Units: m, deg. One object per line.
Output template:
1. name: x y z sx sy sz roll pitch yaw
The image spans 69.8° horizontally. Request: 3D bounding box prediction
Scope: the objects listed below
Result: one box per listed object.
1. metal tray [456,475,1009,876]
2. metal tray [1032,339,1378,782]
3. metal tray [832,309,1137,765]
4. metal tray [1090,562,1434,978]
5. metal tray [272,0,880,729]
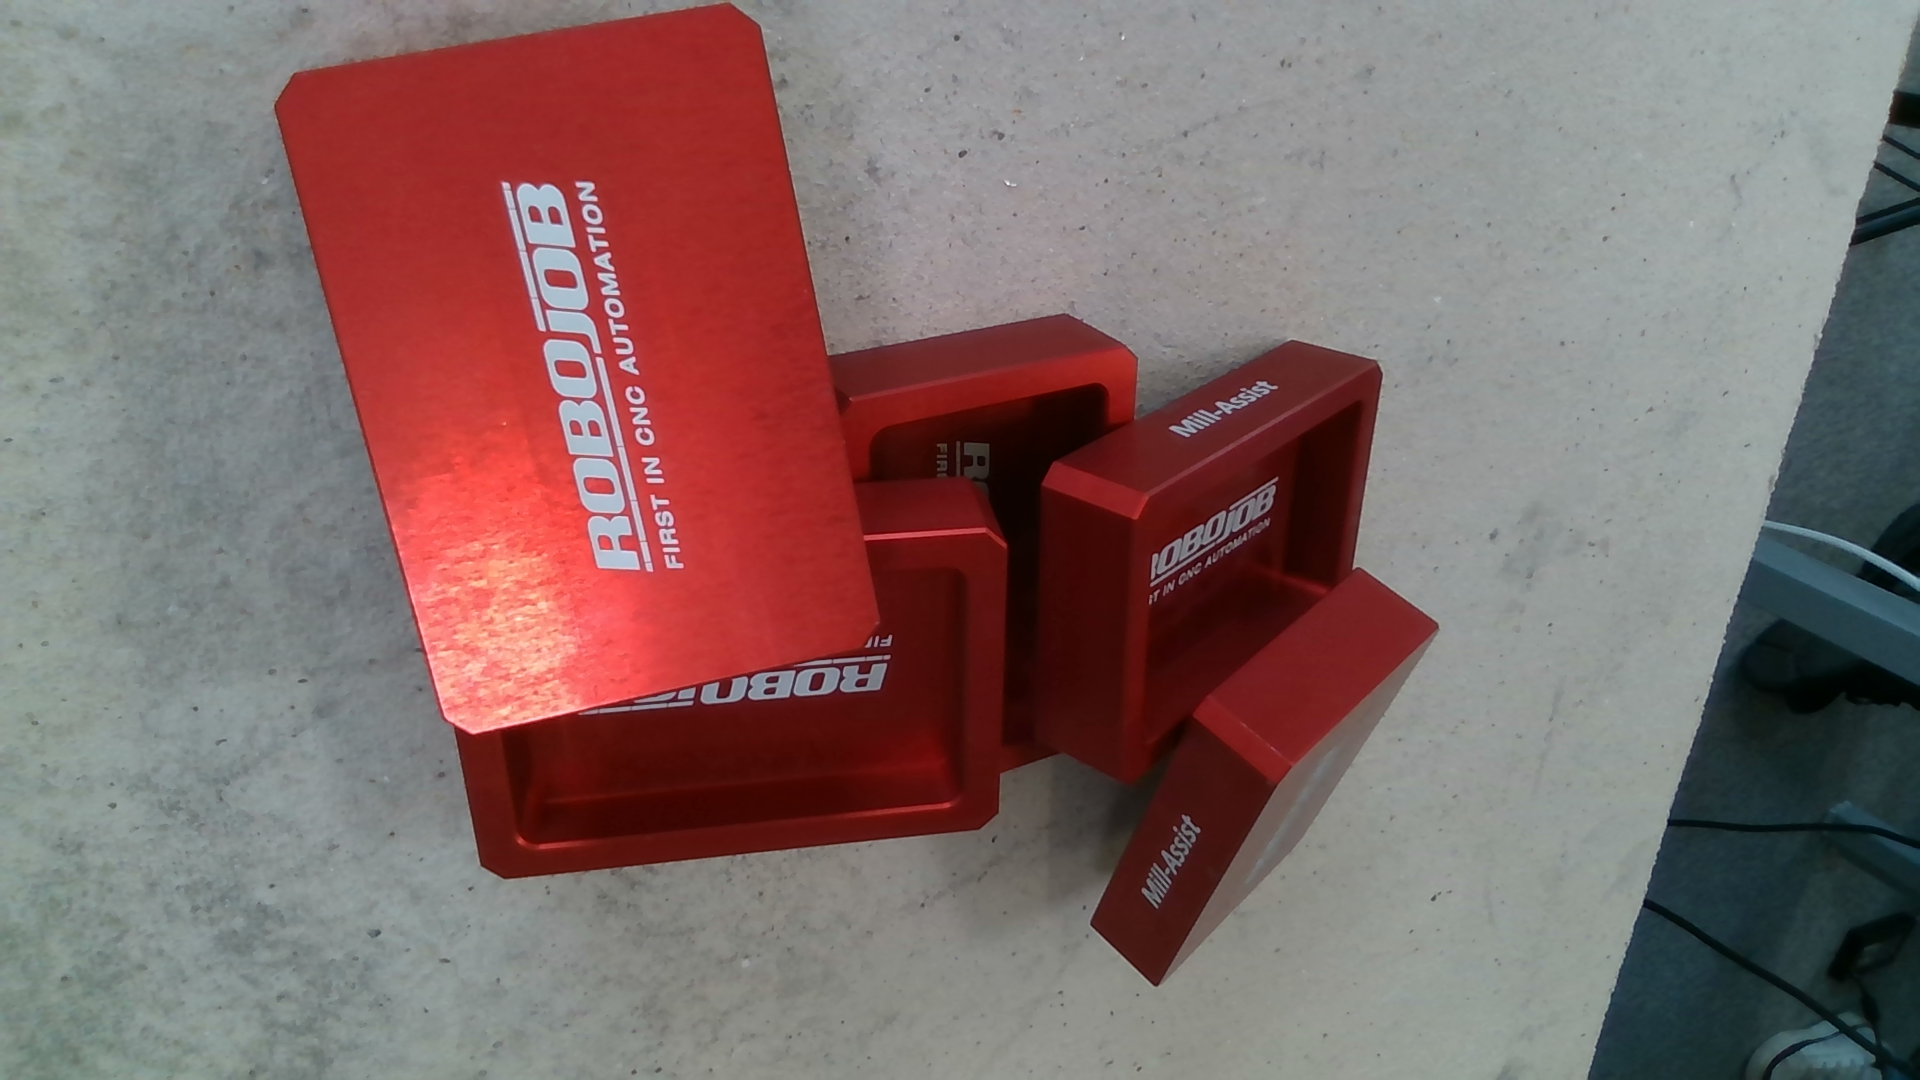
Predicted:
1. metal tray: -0.056 0.034 0.345 0.130 0.030 0.090 -4 118 -9
2. metal tray: 0.074 0.002 0.407 0.130 0.030 0.090 -28 129 -41
3. metal tray: 0.001 0.007 0.392 0.090 0.030 0.130 -14 122 -25
4. metal tray: 0.095 0.077 0.445 0.090 0.030 0.130 -33 152 -36
5. metal tray: -0.074 -0.035 0.284 0.090 0.030 0.130 -12 104 -7
